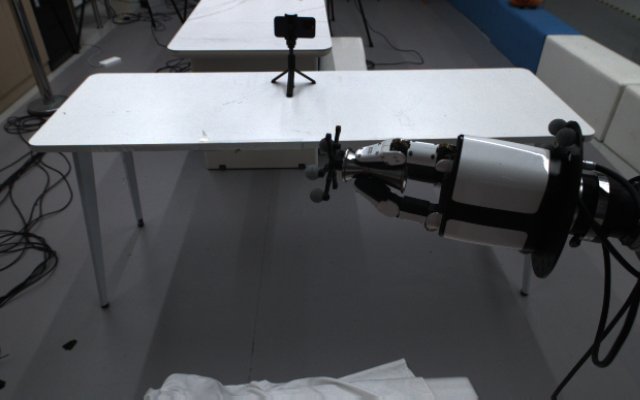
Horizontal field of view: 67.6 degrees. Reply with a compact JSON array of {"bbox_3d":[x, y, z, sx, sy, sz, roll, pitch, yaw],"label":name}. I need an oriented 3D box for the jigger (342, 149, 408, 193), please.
[{"bbox_3d":[0.069,-0.039,0.537,0.071,0.043,0.043,9,35,16],"label":"jigger"}]
